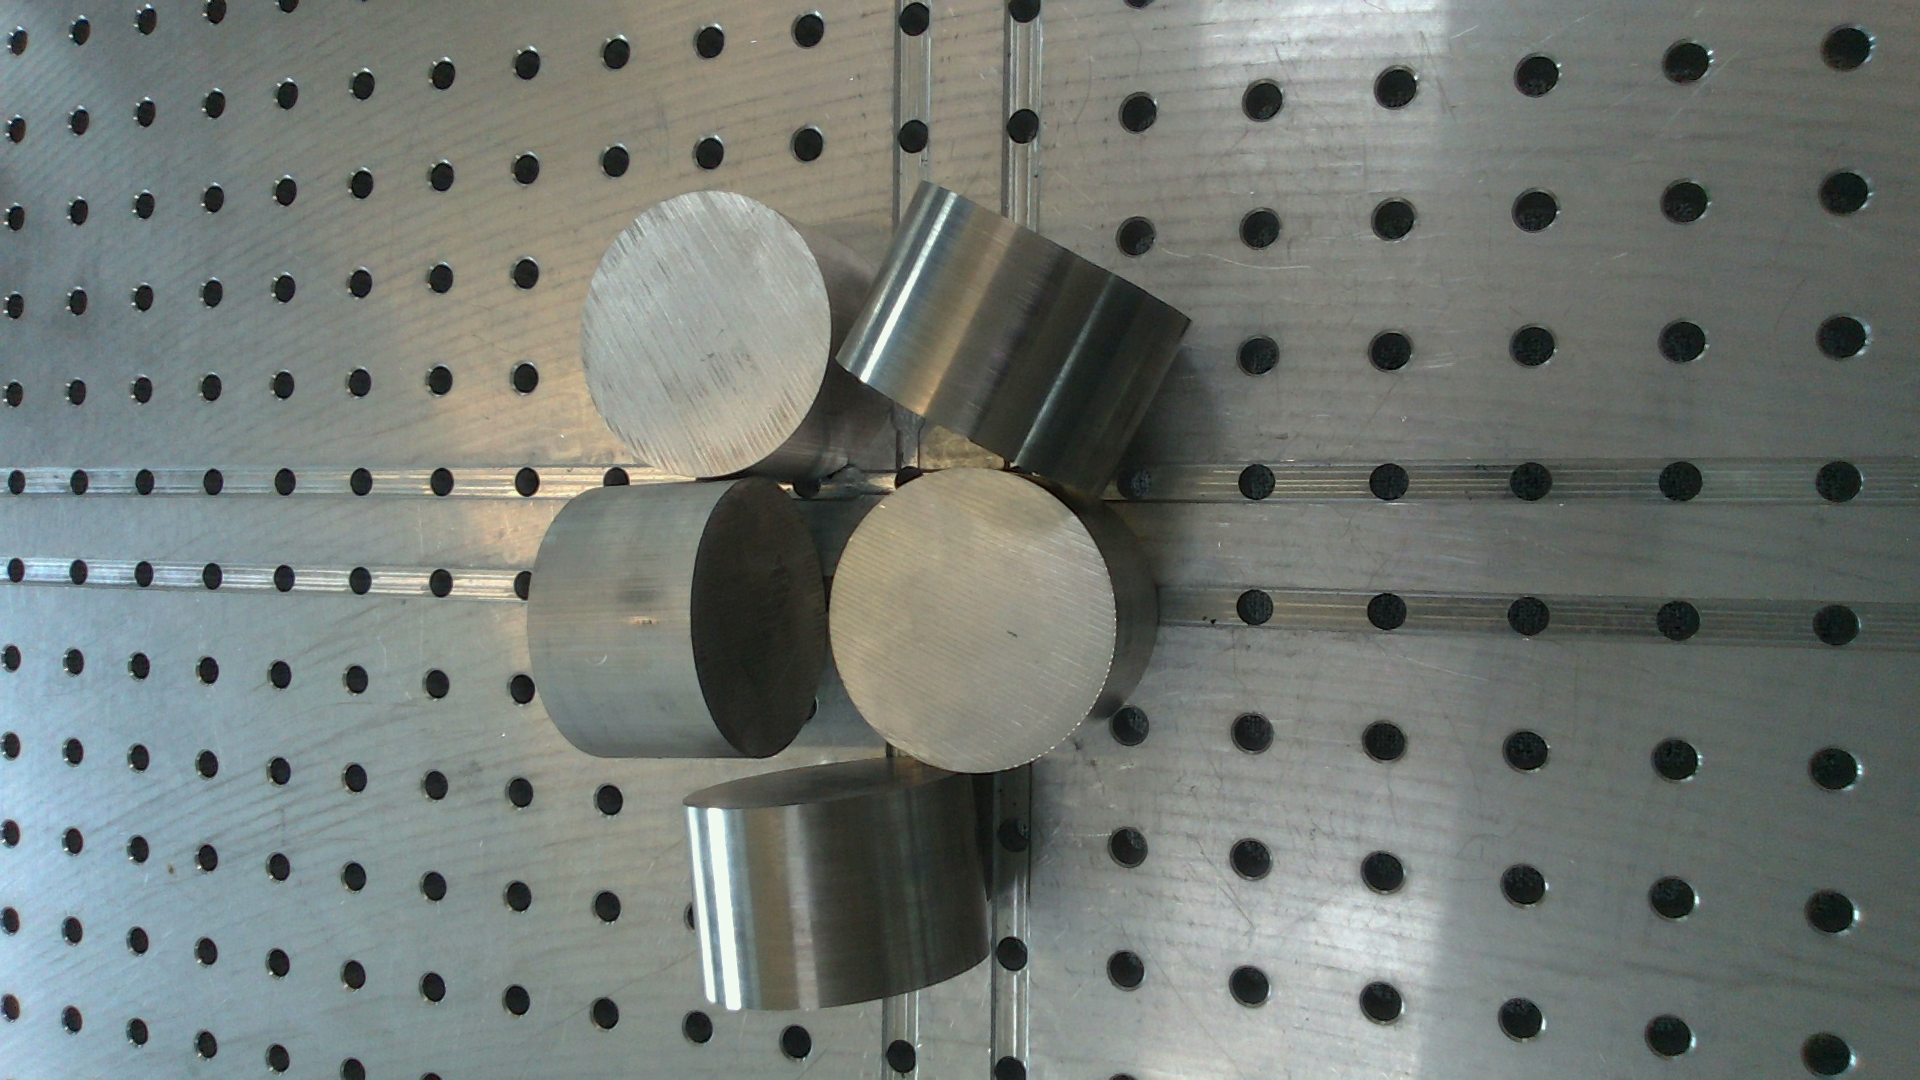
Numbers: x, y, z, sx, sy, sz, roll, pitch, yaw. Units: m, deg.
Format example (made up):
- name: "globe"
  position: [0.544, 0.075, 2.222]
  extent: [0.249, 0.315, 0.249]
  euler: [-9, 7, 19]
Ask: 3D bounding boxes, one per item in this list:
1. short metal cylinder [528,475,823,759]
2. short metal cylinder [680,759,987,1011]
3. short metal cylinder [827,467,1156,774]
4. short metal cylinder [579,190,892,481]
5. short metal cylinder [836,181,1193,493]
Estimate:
- name: "short metal cylinder"
  position: [-0.079, 0.023, 0.399]
  extent: [0.050, 0.080, 0.080]
  euler: [-3, 89, 20]
- name: "short metal cylinder"
  position: [-0.034, 0.092, 0.381]
  extent: [0.080, 0.080, 0.050]
  euler: [-7, 88, 20]
- name: "short metal cylinder"
  position: [0.010, 0.021, 0.382]
  extent: [0.080, 0.050, 0.080]
  euler: [0, 91, 19]
- name: "short metal cylinder"
  position: [-0.064, -0.058, 0.408]
  extent: [0.080, 0.050, 0.080]
  euler: [0, 90, 21]
- name: "short metal cylinder"
  position: [0.014, -0.053, 0.364]
  extent: [0.080, 0.080, 0.050]
  euler: [30, 99, 17]
